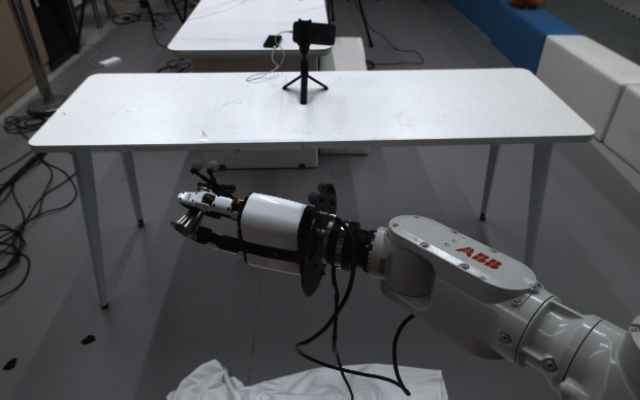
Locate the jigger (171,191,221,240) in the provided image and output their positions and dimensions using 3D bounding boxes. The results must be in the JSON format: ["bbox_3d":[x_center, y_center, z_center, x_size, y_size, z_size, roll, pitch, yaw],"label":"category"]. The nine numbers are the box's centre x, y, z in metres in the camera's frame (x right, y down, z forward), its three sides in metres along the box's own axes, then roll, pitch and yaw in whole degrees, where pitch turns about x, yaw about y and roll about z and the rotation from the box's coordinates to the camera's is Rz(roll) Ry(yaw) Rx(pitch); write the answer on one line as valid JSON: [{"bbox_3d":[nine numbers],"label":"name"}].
[{"bbox_3d":[-0.183,0.015,0.709,0.043,0.043,0.071,19,62,23],"label":"jigger"}]
